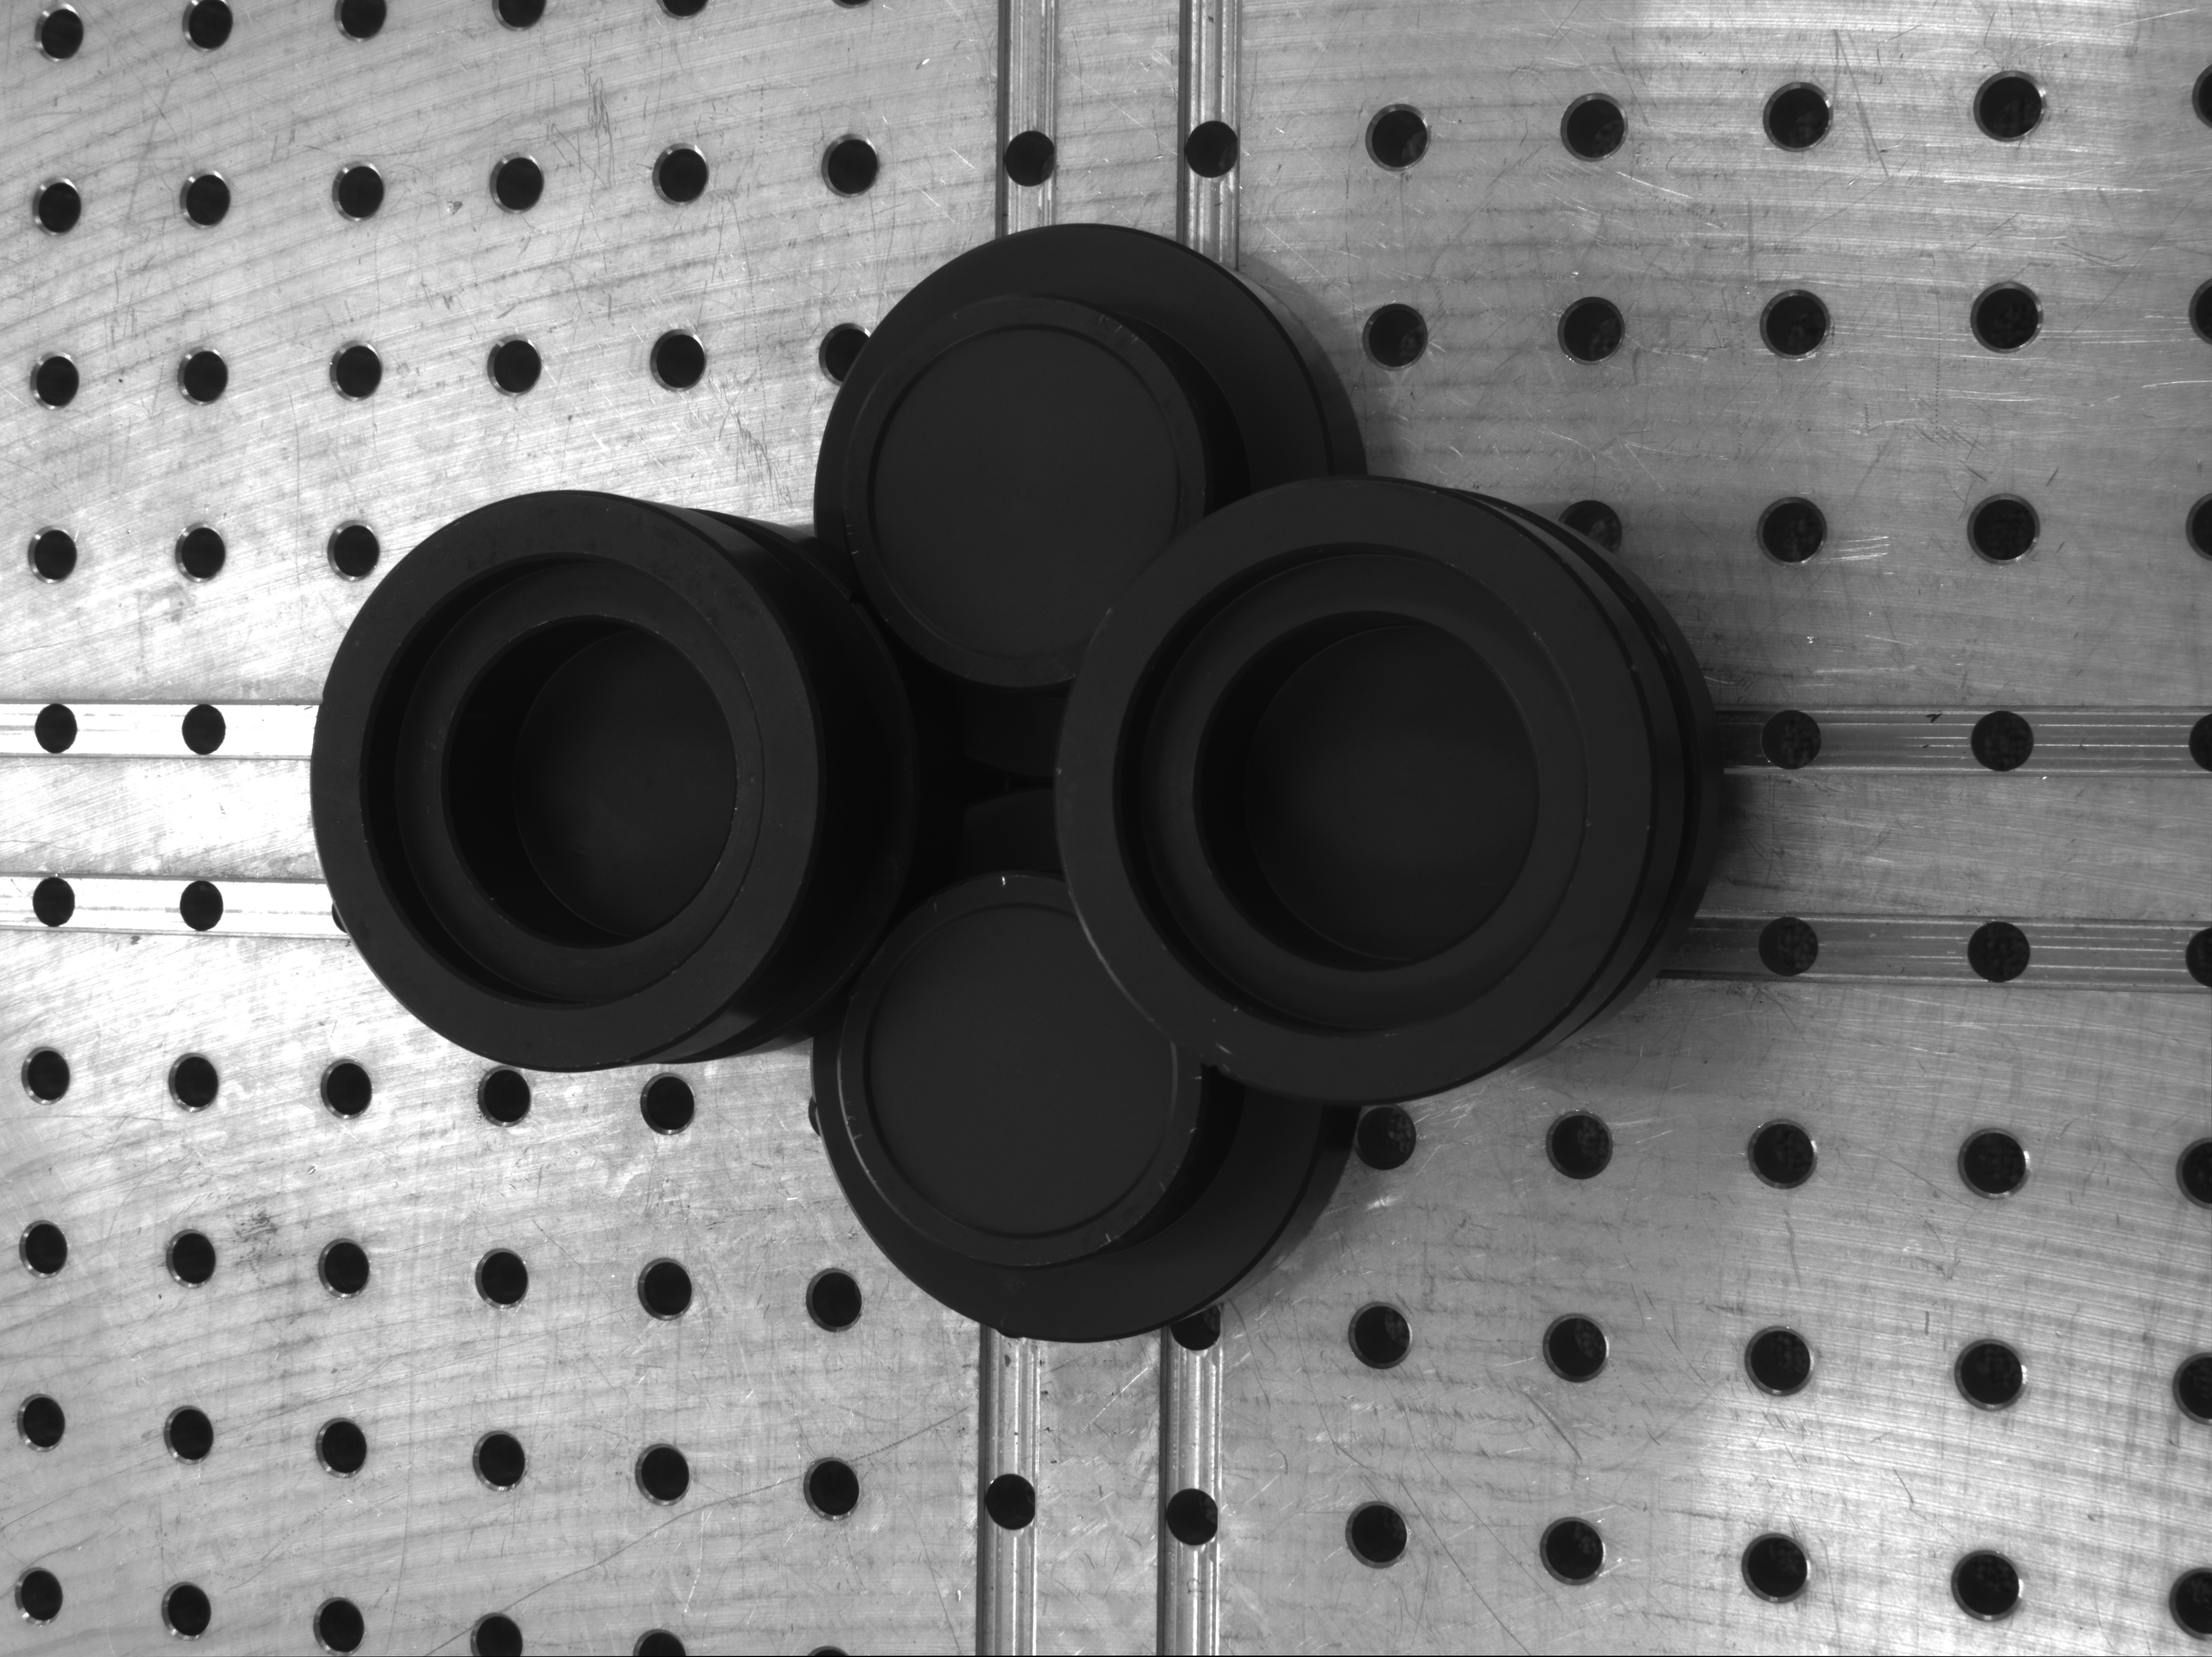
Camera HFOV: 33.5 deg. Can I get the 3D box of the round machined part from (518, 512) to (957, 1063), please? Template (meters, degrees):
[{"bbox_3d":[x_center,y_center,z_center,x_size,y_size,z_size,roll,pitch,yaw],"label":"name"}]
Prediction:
[{"bbox_3d":[-0.072,-0.007,0.666,0.098,0.042,0.098,0,90,20],"label":"round machined part"}]

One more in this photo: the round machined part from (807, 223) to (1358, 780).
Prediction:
[{"bbox_3d":[-0.008,-0.057,0.643,0.098,0.042,0.098,0,90,20],"label":"round machined part"}]

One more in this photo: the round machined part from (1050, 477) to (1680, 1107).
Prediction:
[{"bbox_3d":[0.044,-0.006,0.590,0.098,0.042,0.098,0,90,20],"label":"round machined part"}]

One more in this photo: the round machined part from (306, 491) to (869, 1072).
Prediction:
[{"bbox_3d":[-0.085,-0.008,0.637,0.098,0.042,0.098,0,90,20],"label":"round machined part"}]

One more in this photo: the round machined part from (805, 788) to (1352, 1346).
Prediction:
[{"bbox_3d":[-0.009,0.042,0.643,0.098,0.042,0.098,0,90,20],"label":"round machined part"}]

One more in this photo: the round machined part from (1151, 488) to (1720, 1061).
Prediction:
[{"bbox_3d":[0.055,-0.007,0.620,0.098,0.042,0.098,0,90,20],"label":"round machined part"}]
